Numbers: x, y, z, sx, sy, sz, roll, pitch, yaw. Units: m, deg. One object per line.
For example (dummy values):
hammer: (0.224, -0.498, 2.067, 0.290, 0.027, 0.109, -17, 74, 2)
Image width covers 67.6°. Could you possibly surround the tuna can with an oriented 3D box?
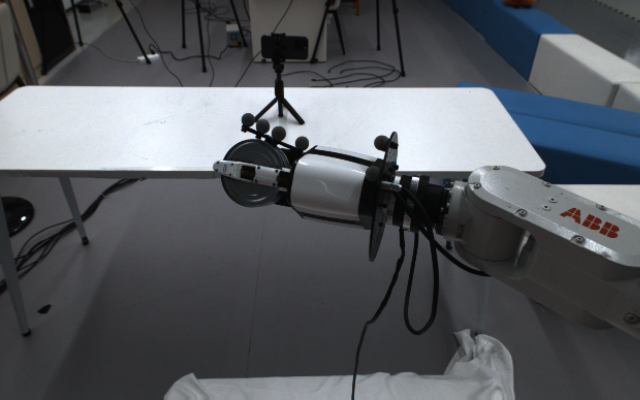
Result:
tuna can: (-0.079, -0.035, 0.617, 0.085, 0.085, 0.034, 13, 2, 16)
